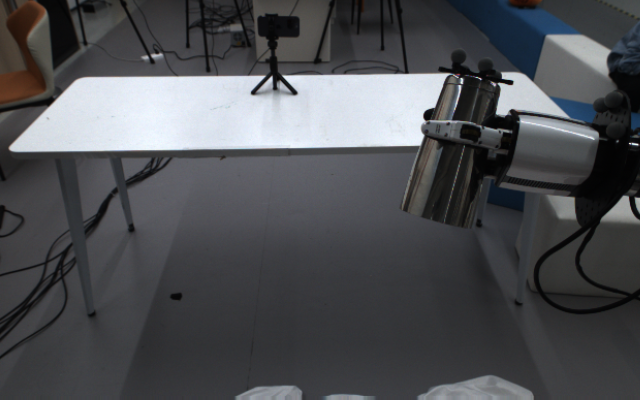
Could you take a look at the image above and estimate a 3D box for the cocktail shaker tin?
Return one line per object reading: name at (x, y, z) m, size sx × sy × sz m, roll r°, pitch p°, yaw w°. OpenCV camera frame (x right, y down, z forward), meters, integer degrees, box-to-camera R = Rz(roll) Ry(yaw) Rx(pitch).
cocktail shaker tin at (0.166, -0.060, 0.592) m, size 0.093 × 0.170 × 0.093 m, roll 14°, pitch 6°, yaw -2°
